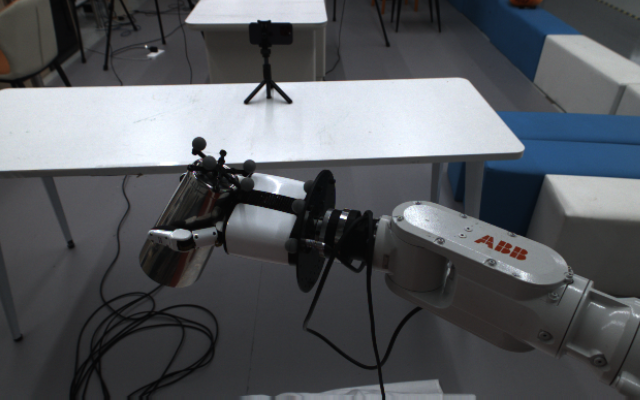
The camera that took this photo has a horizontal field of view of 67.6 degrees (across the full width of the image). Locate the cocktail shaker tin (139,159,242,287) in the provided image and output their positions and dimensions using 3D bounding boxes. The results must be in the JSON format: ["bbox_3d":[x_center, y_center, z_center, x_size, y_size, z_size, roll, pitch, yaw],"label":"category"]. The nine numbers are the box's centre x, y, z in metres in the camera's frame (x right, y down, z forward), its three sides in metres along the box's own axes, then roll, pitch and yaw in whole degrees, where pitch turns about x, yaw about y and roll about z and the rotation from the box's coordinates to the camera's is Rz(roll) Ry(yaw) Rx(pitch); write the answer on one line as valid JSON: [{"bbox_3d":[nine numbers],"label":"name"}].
[{"bbox_3d":[-0.171,0.027,0.654,0.093,0.170,0.093,26,32,-18],"label":"cocktail shaker tin"}]
